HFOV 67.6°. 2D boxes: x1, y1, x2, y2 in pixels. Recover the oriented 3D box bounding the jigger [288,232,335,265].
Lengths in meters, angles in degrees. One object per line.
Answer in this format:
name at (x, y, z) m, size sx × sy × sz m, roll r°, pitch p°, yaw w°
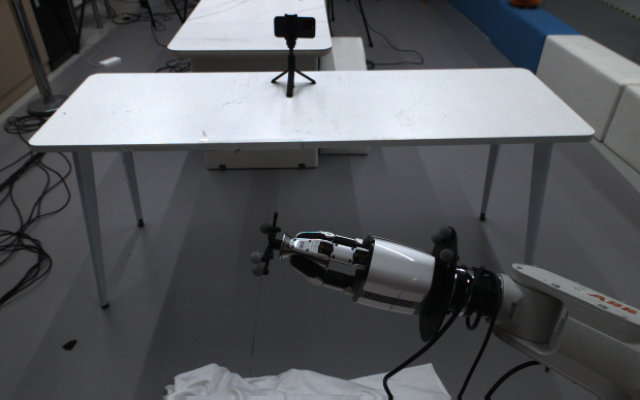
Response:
jigger at (-0.012, 0.066, 0.670) m, size 0.071 × 0.043 × 0.043 m, roll 11°, pitch 35°, yaw 3°
